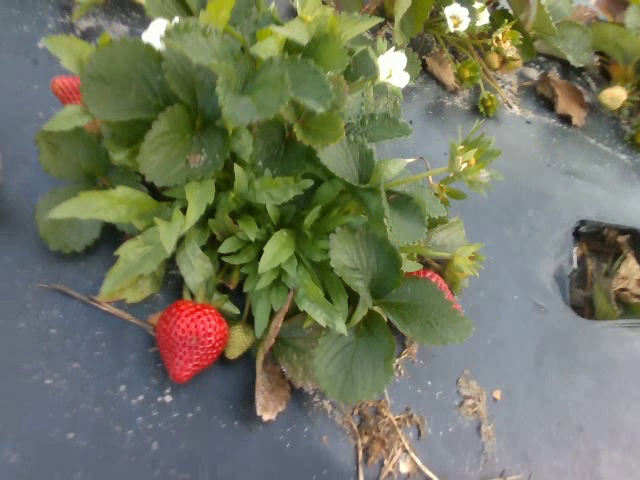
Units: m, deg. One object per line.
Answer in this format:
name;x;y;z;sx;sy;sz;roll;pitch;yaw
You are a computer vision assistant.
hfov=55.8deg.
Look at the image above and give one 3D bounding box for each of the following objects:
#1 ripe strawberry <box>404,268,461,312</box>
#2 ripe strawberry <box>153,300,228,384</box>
ripe strawberry;0.074;0.039;0.395;0.046;0.043;0.047;29;-14;14
ripe strawberry;-0.072;0.056;0.325;0.043;0.051;0.043;21;-35;-17
